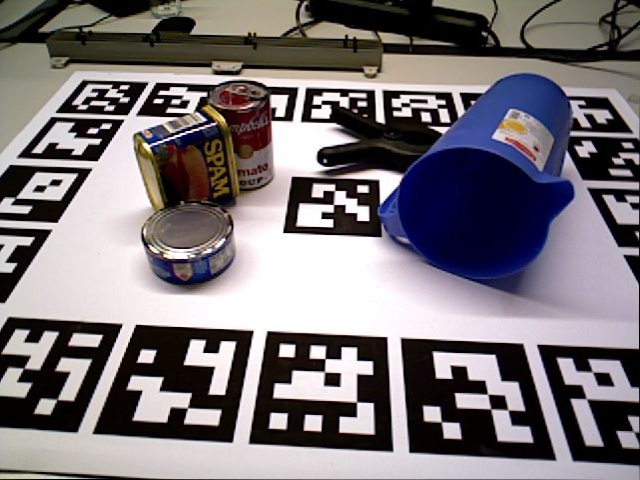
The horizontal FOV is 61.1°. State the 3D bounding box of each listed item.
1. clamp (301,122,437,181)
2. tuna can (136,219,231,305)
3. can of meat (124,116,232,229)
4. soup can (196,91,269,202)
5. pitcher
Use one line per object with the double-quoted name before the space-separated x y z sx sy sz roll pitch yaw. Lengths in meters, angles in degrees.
"clamp" 0.063 -0.104 0.666 0.164 0.037 0.119 6 39 1
"tuna can" -0.128 0.020 0.518 0.085 0.034 0.084 0 44 0
"can of meat" -0.143 -0.062 0.552 0.082 0.104 0.057 -26 50 -21
"soup can" -0.094 -0.102 0.602 0.067 0.104 0.067 -2 44 1
"pitcher" 0.172 -0.072 0.539 0.191 0.135 0.236 -2 30 32
